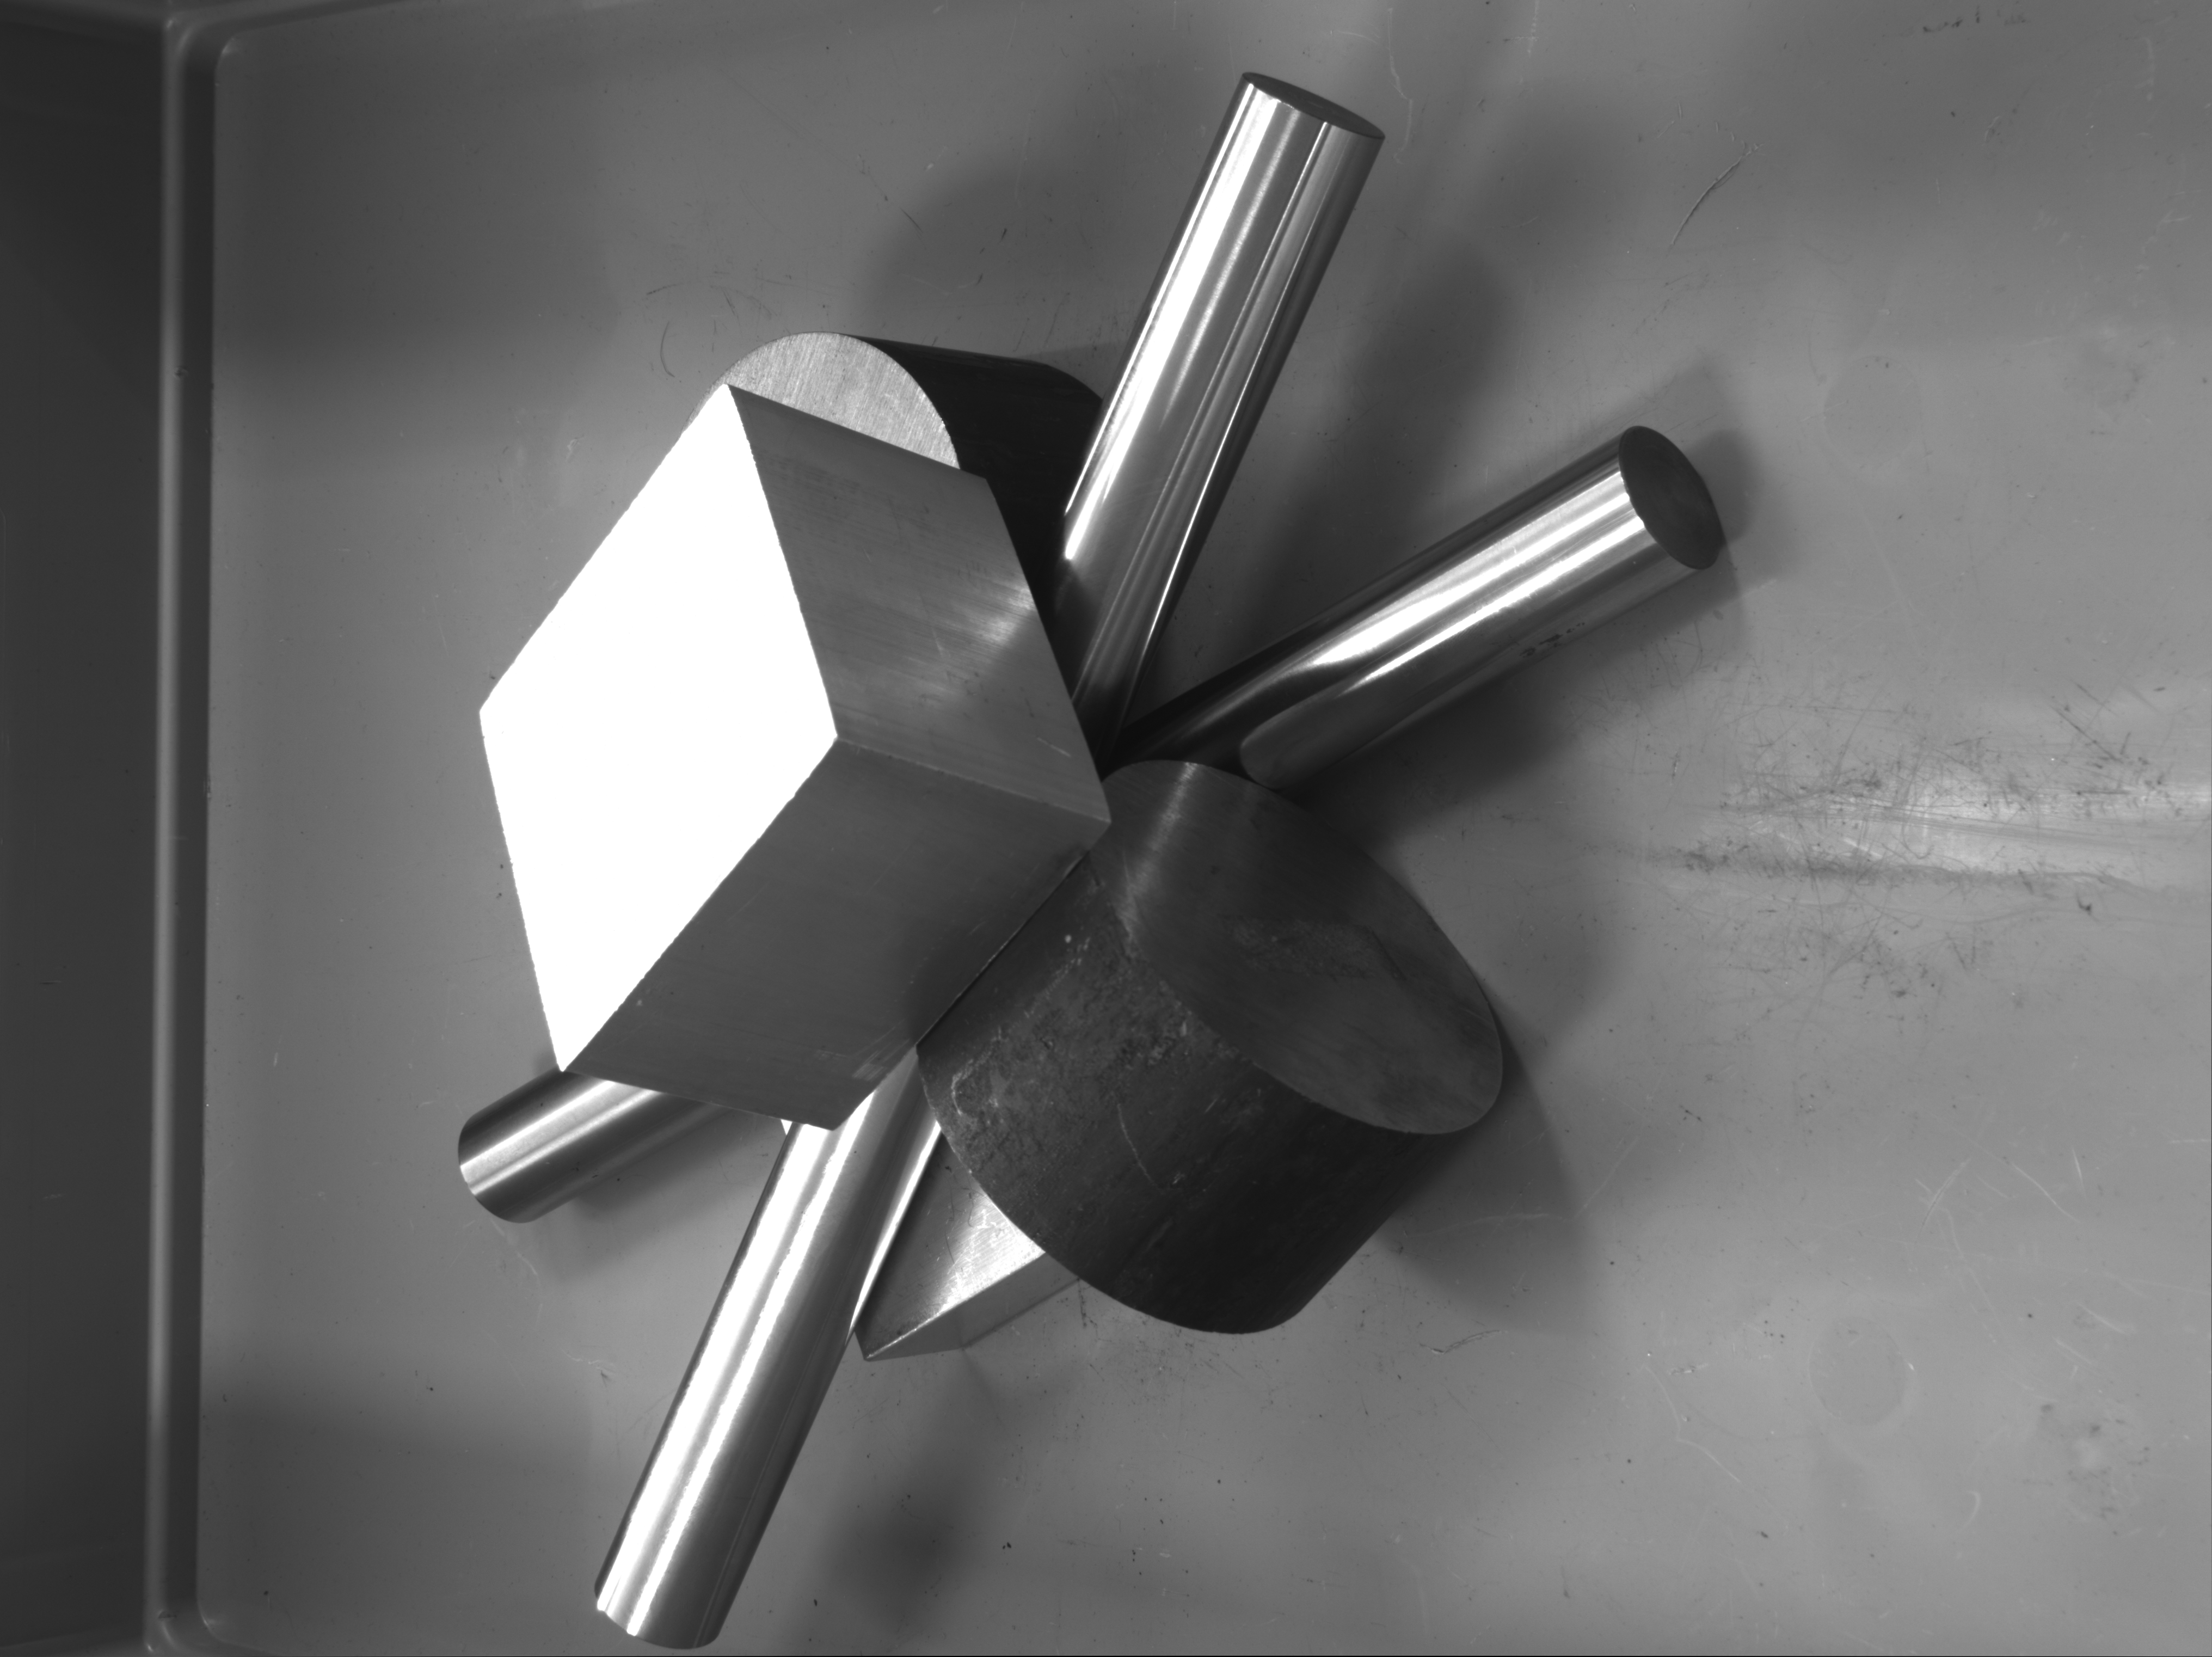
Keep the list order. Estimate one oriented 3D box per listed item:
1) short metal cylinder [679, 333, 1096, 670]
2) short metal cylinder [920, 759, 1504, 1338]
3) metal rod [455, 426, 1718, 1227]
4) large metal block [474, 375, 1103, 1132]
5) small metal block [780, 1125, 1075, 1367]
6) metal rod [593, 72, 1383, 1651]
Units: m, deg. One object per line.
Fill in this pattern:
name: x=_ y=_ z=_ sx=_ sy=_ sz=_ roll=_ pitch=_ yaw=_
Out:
short metal cylinder: x=-0.037 y=-0.046 z=0.659 sx=0.080 sy=0.050 sz=0.080 roll=0 pitch=90 yaw=40
short metal cylinder: x=0.017 y=0.035 z=0.594 sx=0.050 sy=0.080 sz=0.080 roll=-51 pitch=60 yaw=29
metal rod: x=-0.017 y=0.009 z=0.659 sx=0.299 sy=0.025 sz=0.025 roll=-30 pitch=71 yaw=36
large metal block: x=-0.054 y=-0.011 z=0.590 sx=0.080 sy=0.050 sz=0.080 roll=-48 pitch=44 yaw=30
small metal block: x=-0.027 y=0.064 z=0.667 sx=0.050 sy=0.025 sz=0.050 roll=-35 pitch=68 yaw=35
metal rod: x=-0.025 y=0.015 z=0.633 sx=0.025 sy=0.025 sz=0.300 roll=37 pitch=113 yaw=34
